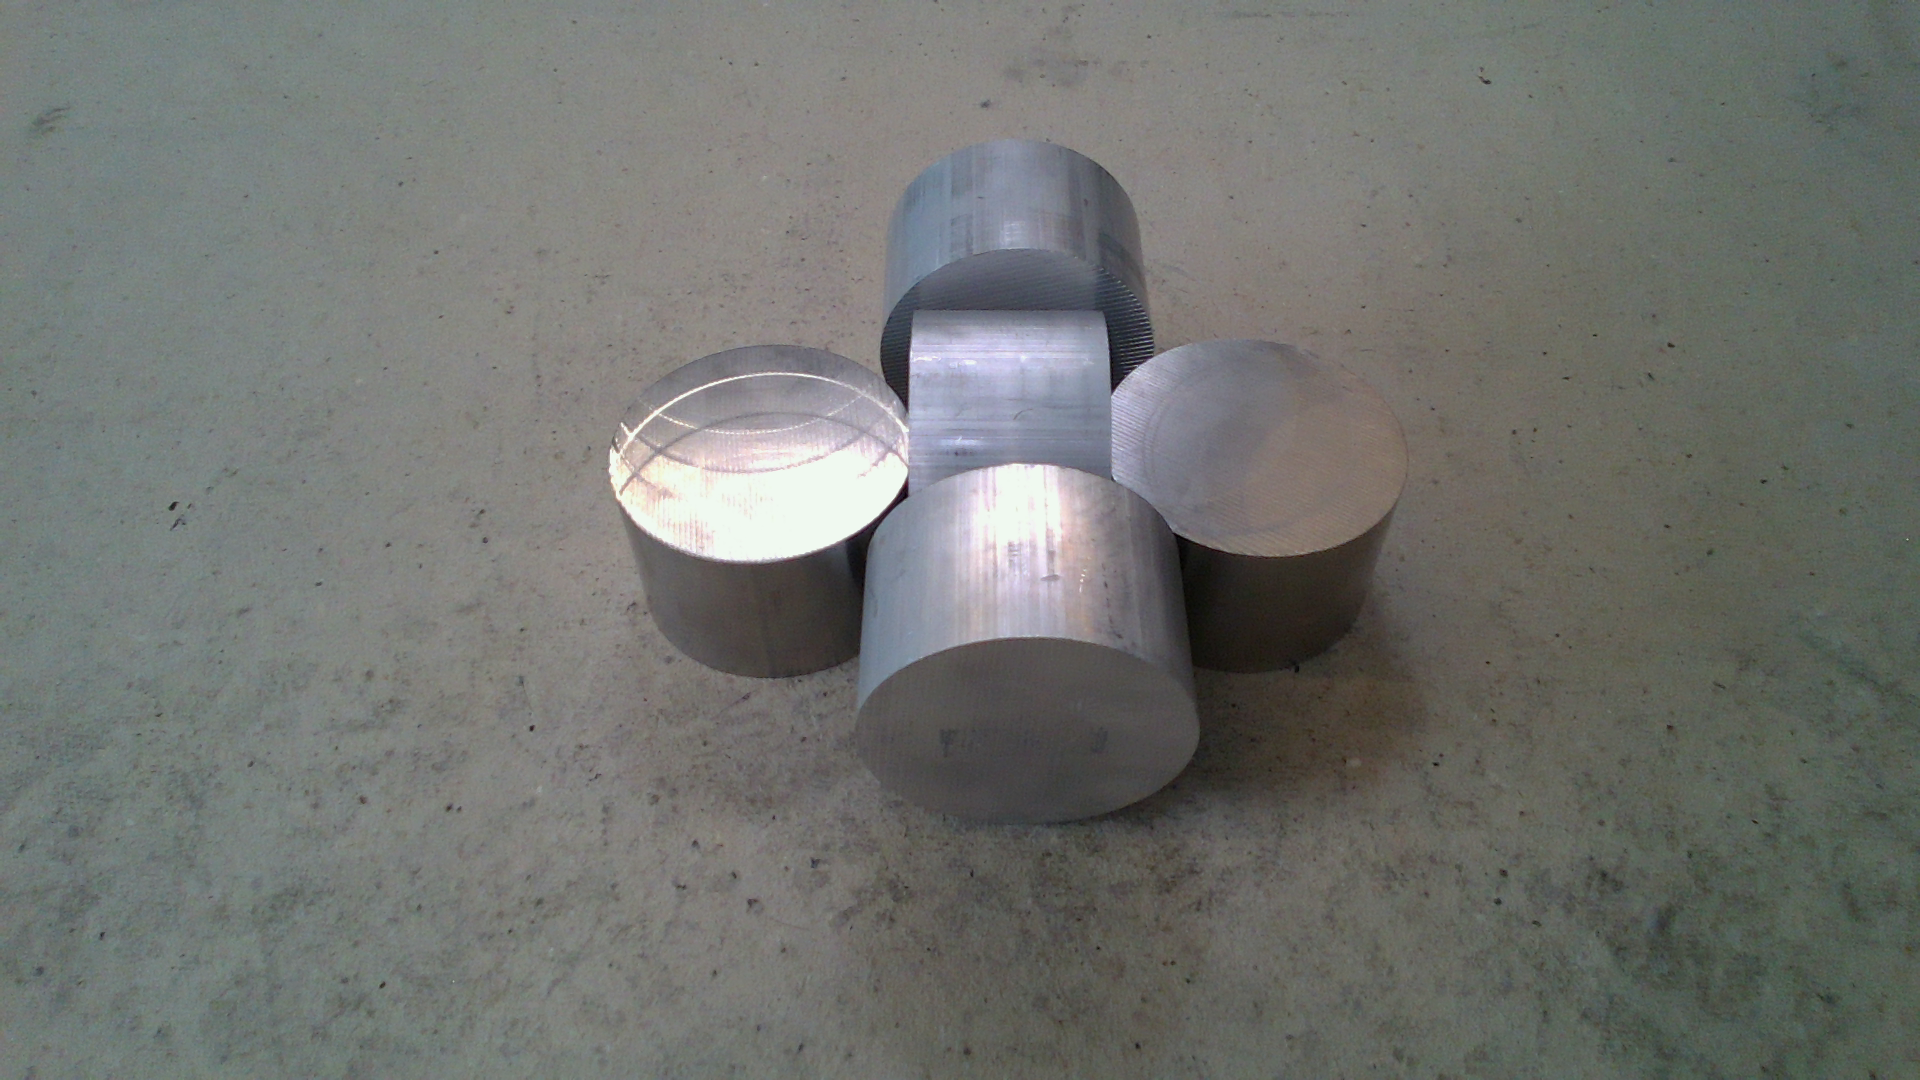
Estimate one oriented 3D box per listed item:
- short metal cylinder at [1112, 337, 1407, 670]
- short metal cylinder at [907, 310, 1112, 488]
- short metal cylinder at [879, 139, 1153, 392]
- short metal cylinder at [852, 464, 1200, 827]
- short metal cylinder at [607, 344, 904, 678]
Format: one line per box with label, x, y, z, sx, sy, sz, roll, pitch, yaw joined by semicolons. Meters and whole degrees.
short metal cylinder;0.078;-0.011;0.384;0.080;0.050;0.080;0;50;0
short metal cylinder;0.013;-0.022;0.375;0.050;0.080;0.080;0;50;1
short metal cylinder;0.016;-0.072;0.417;0.080;0.080;0.050;0;50;0
short metal cylinder;0.015;0.027;0.334;0.080;0.080;0.050;0;49;0
short metal cylinder;-0.053;-0.009;0.383;0.080;0.050;0.080;1;49;0
